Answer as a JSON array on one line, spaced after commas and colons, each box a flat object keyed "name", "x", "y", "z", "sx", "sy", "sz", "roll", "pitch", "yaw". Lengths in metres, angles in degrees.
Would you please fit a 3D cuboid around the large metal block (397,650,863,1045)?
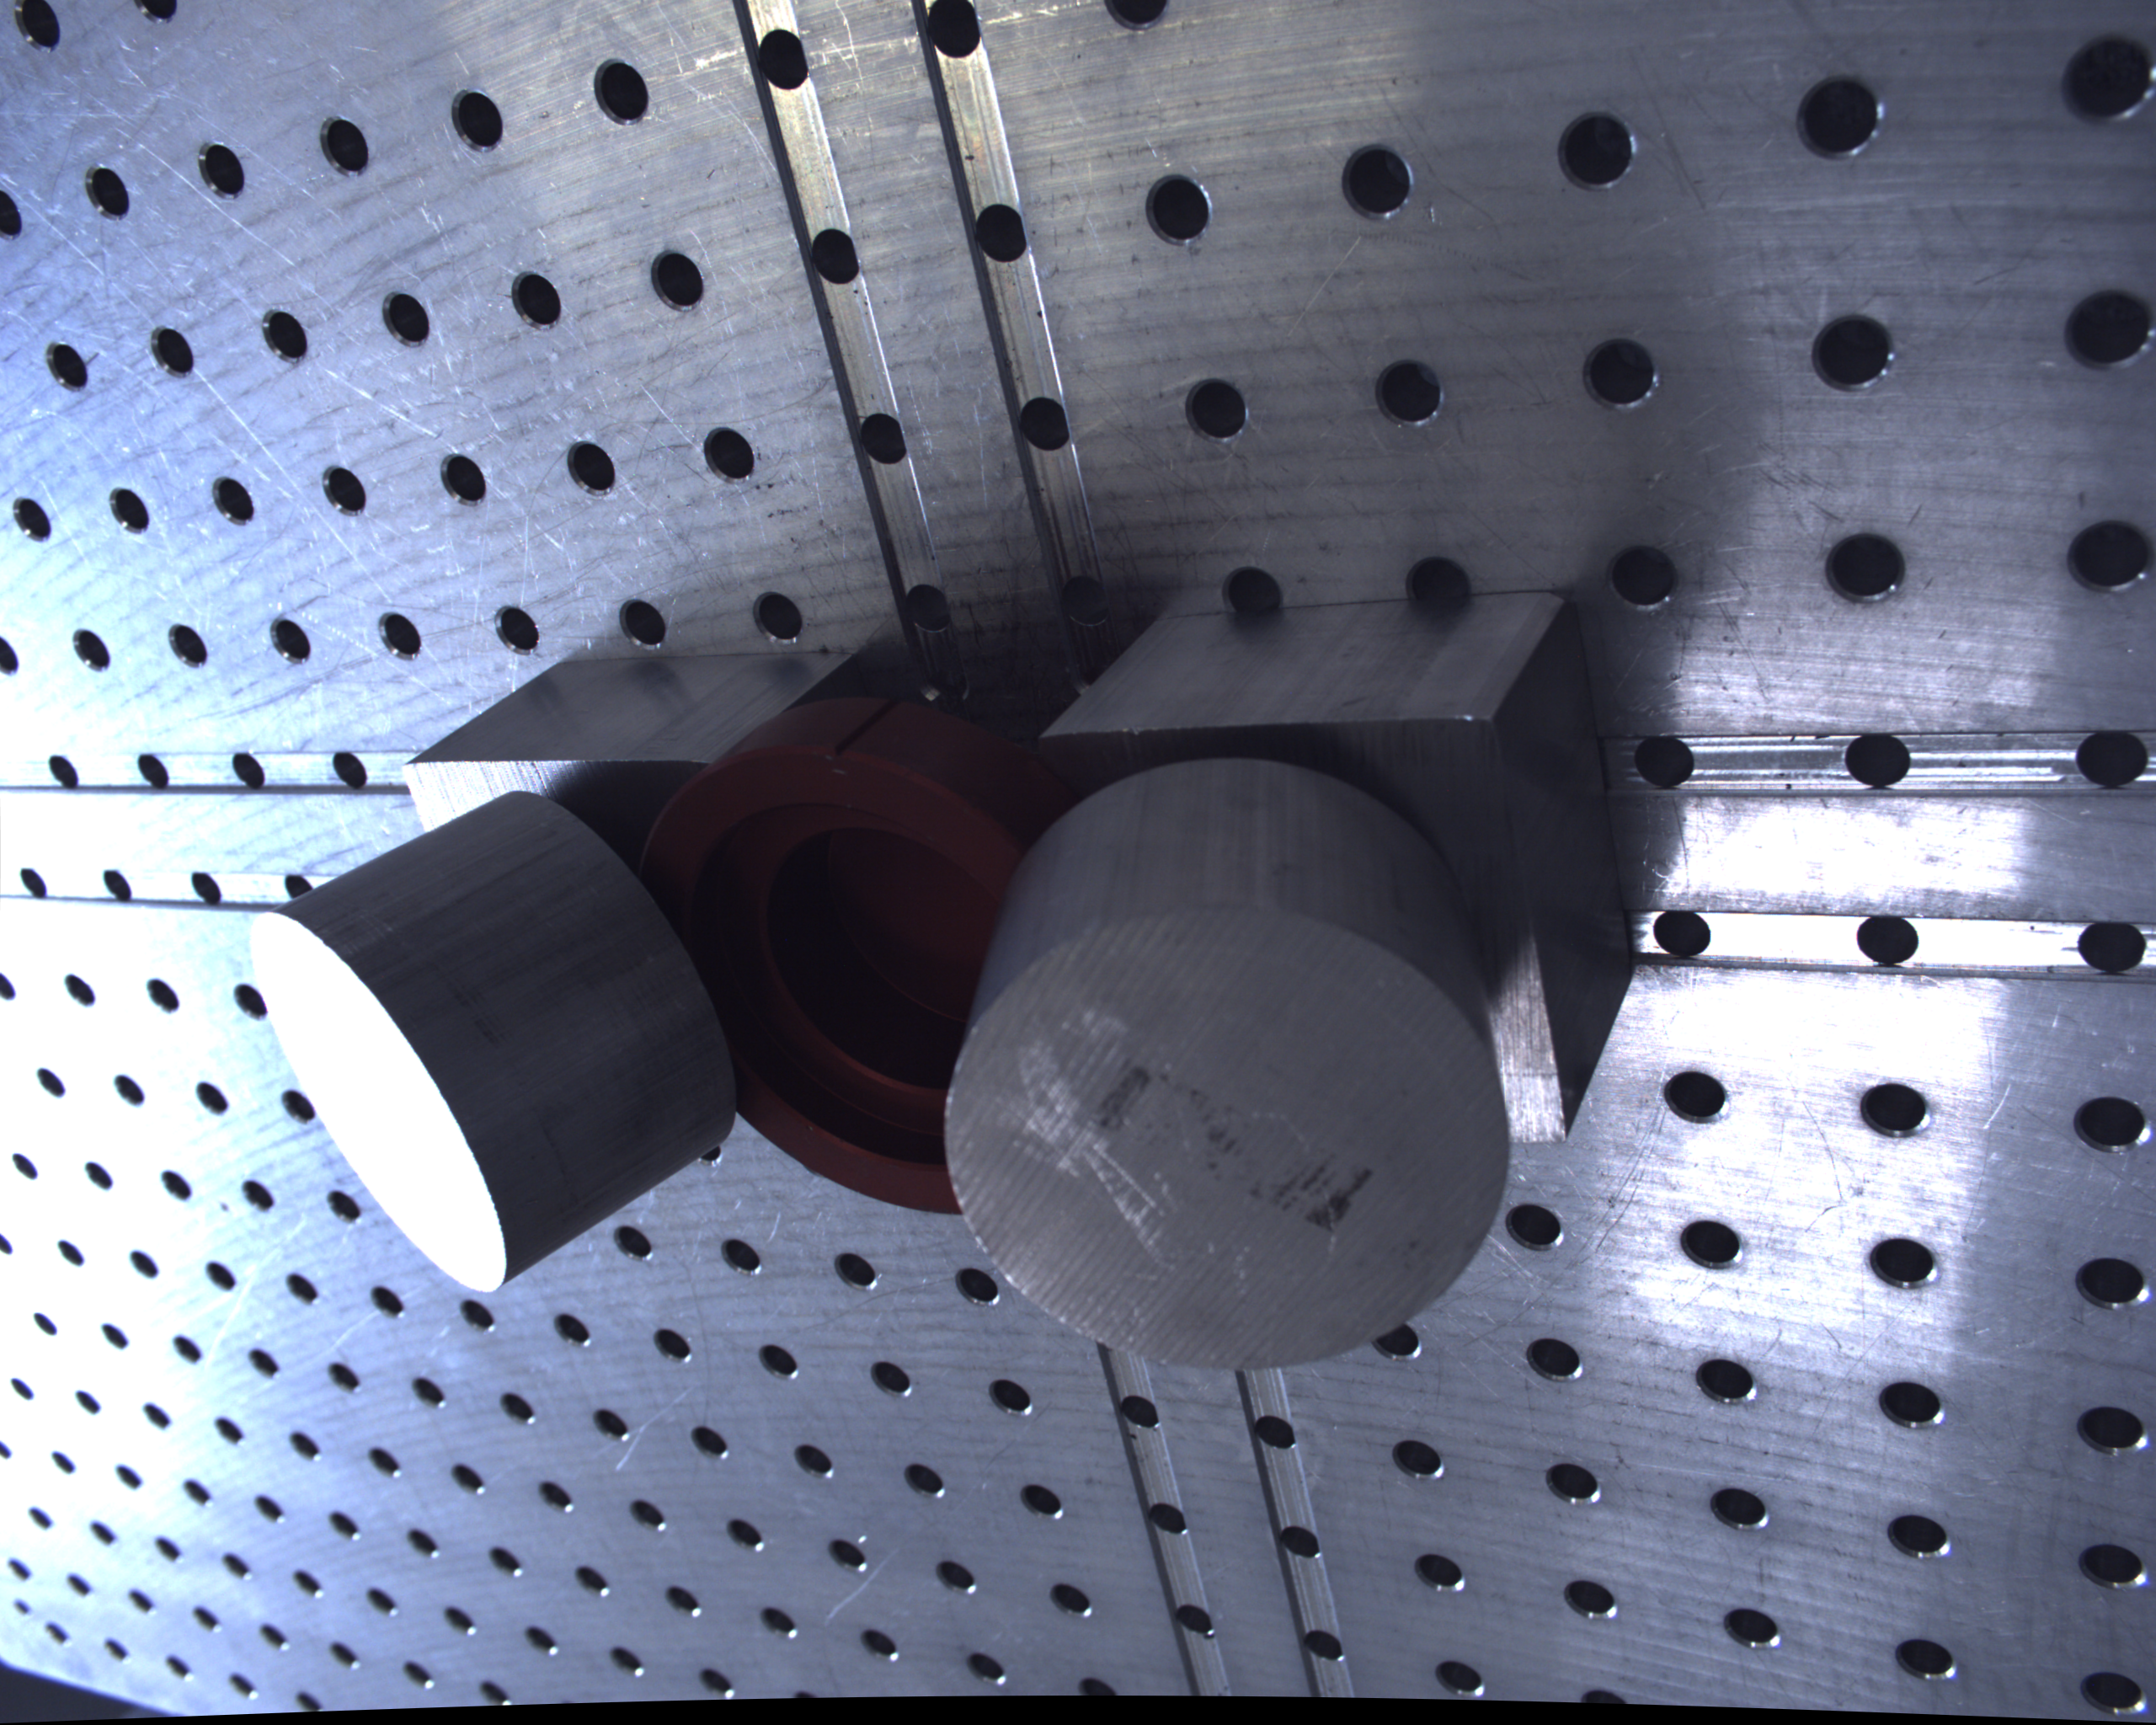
[{"name": "large metal block", "x": -0.083, "y": 0.003, "z": 0.441, "sx": 0.080, "sy": 0.050, "sz": 0.080, "roll": 1, "pitch": 119, "yaw": 28}]

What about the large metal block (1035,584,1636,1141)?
[{"name": "large metal block", "x": 0.048, "y": 0.000, "z": 0.369, "sx": 0.080, "sy": 0.050, "sz": 0.080, "roll": -1, "pitch": 118, "yaw": 28}]

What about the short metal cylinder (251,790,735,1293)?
[{"name": "short metal cylinder", "x": -0.110, "y": 0.033, "z": 0.392, "sx": 0.080, "sy": 0.050, "sz": 0.079, "roll": 32, "pitch": 140, "yaw": 33}]

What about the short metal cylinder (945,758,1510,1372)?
[{"name": "short metal cylinder", "x": 0.023, "y": 0.030, "z": 0.320, "sx": 0.080, "sy": 0.050, "sz": 0.079, "roll": 2, "pitch": 116, "yaw": 5}]

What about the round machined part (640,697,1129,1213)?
[{"name": "round machined part", "x": -0.028, "y": 0.013, "z": 0.385, "sx": 0.098, "sy": 0.042, "sz": 0.097, "roll": 13, "pitch": 124, "yaw": 21}]
